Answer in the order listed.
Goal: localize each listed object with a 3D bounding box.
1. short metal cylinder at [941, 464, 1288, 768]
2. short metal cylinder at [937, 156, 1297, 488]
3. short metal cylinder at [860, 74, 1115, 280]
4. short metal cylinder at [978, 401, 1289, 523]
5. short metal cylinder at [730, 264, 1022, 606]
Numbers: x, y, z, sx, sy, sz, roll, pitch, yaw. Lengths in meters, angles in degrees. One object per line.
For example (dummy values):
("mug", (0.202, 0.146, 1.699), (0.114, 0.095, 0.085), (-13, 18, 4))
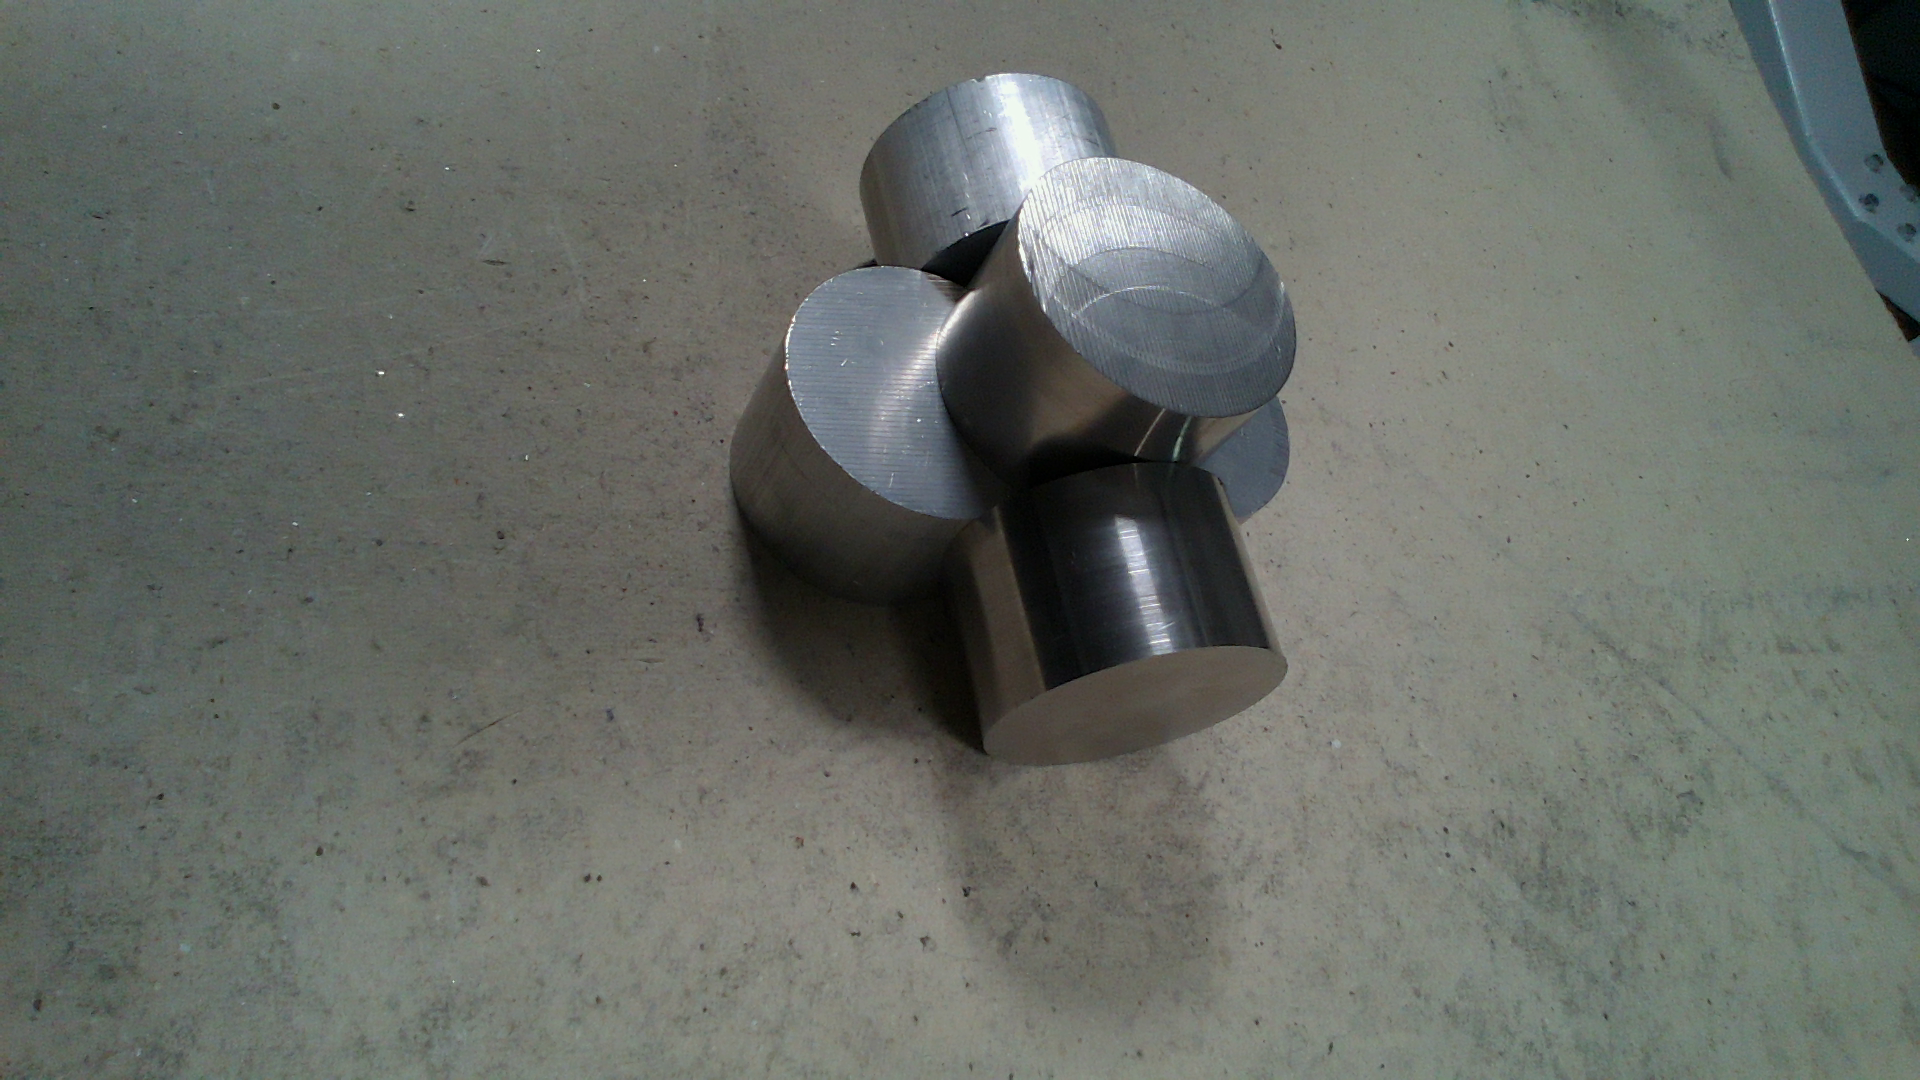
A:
("short metal cylinder", (0.039, 0.022, 0.363), (0.080, 0.080, 0.050), (0, 61, -28))
("short metal cylinder", (0.040, -0.053, 0.363), (0.080, 0.050, 0.080), (14, 56, -21))
("short metal cylinder", (0.013, -0.093, 0.419), (0.080, 0.080, 0.050), (0, 62, -28))
("short metal cylinder", (0.052, -0.029, 0.420), (0.080, 0.050, 0.080), (14, 56, -21))
("short metal cylinder", (-0.018, -0.029, 0.381), (0.080, 0.050, 0.080), (14, 56, -21))
